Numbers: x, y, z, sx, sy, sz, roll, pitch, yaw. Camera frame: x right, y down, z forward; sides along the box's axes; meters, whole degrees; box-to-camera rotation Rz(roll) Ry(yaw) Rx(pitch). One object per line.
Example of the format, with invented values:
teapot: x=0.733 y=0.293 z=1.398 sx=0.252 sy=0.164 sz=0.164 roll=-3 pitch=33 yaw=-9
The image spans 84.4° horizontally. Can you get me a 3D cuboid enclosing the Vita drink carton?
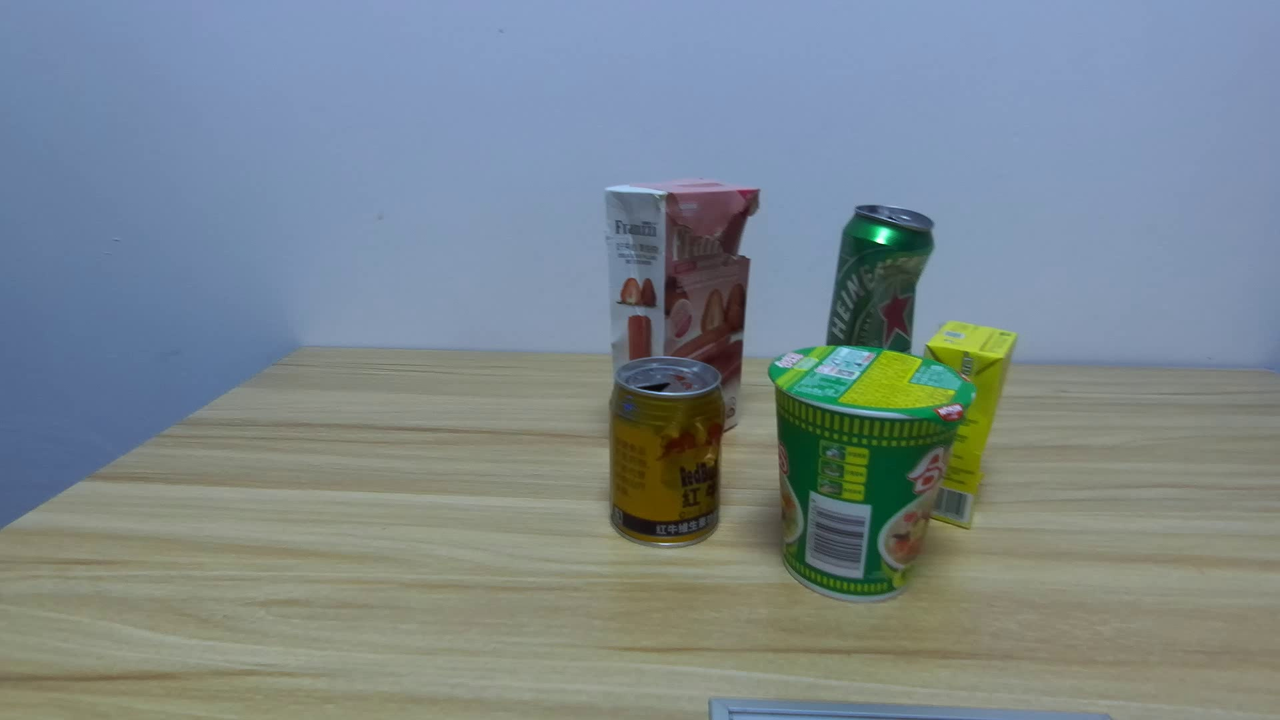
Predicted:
Vita drink carton: x=0.197 y=0.036 z=0.434 sx=0.043 sy=0.109 sz=0.077 roll=13 pitch=21 yaw=32

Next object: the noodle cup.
noodle cup: x=0.110 y=0.058 z=0.361 sx=0.097 sy=0.110 sz=0.097 roll=1 pitch=19 yaw=0

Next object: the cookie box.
cookie box: x=0.028 y=-0.030 z=0.499 sx=0.059 sy=0.186 sz=0.105 roll=20 pitch=27 yaw=39

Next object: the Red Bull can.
Red Bull can: x=0.015 y=0.051 z=0.407 sx=0.068 sy=0.093 sz=0.068 roll=0 pitch=19 yaw=0
